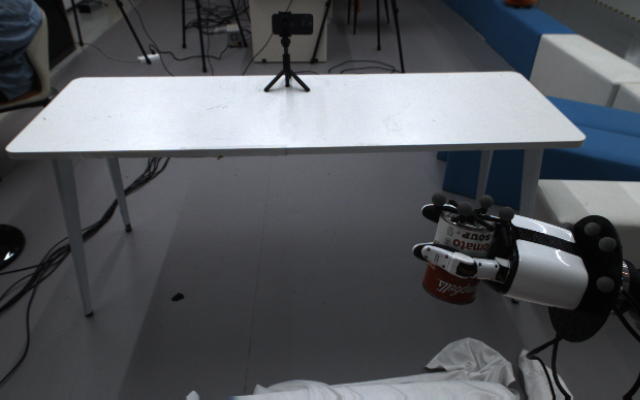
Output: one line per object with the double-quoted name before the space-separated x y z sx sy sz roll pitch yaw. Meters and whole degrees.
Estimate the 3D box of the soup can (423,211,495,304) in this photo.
"soup can" 0.174 0.068 0.604 0.067 0.101 0.067 9 19 -3
